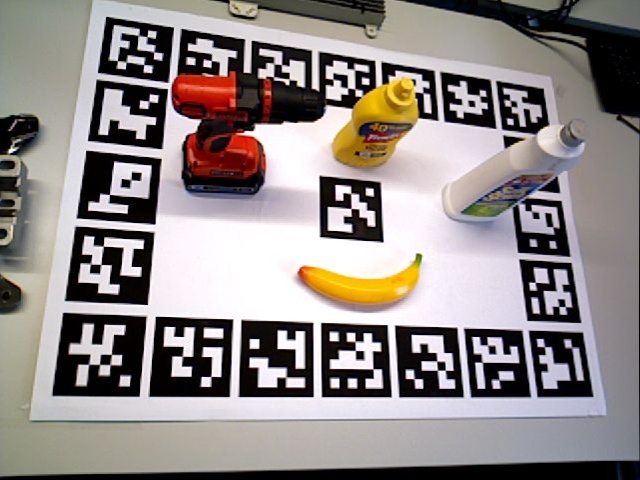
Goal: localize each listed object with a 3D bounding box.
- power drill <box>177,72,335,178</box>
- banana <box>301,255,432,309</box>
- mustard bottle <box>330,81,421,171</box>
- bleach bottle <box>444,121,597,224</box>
[{"bbox_3d":[-0.083,-0.142,0.680,0.182,0.190,0.057,-2,73,-13],"label":"power drill"},{"bbox_3d":[0.071,0.061,0.766,0.195,0.039,0.074,-2,75,-13],"label":"banana"},{"bbox_3d":[0.088,-0.163,0.768,0.095,0.195,0.058,-3,73,-19],"label":"mustard bottle"},{"bbox_3d":[0.281,-0.099,0.767,0.102,0.255,0.067,12,69,-13],"label":"bleach bottle"}]
